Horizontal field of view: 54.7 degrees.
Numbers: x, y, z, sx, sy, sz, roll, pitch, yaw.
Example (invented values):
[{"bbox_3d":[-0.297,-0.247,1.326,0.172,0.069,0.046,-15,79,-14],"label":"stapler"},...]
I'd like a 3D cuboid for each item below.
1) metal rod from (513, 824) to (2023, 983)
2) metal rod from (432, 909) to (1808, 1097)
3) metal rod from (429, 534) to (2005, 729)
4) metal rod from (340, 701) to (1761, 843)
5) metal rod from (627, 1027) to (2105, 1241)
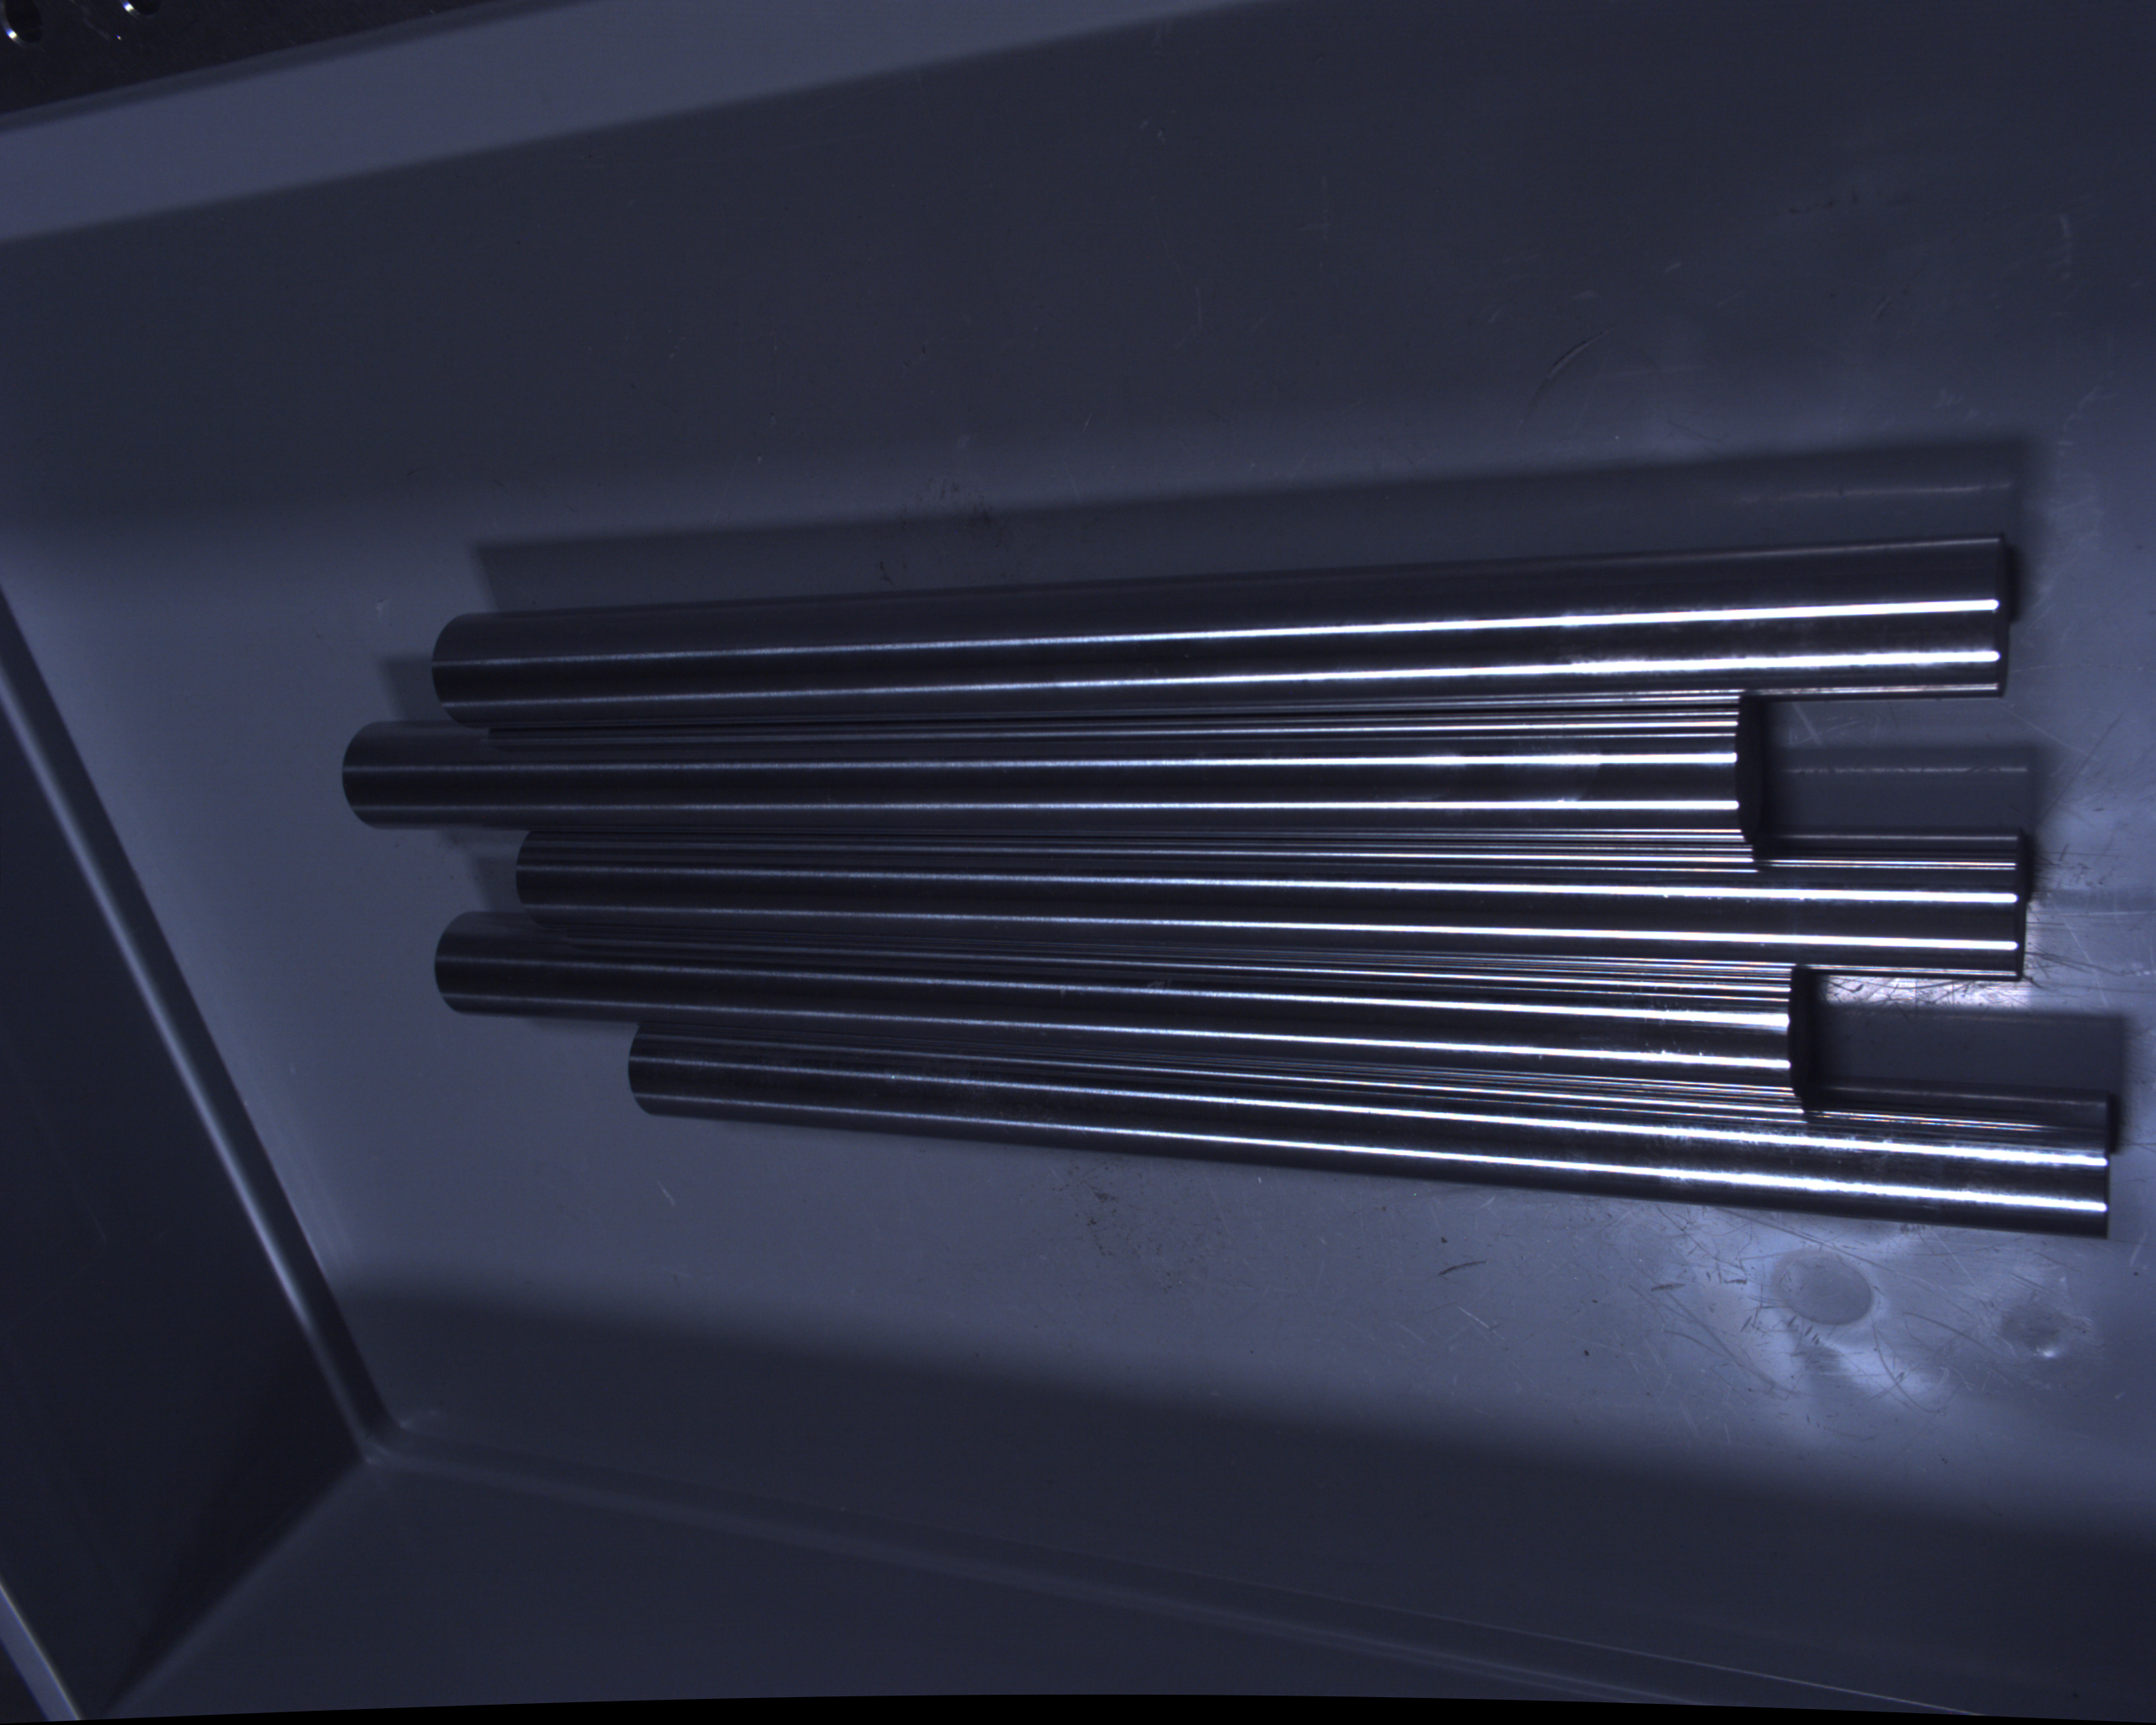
[{"bbox_3d":[0.016,0.004,0.400,0.301,0.025,0.025,1,119,27],"label":"metal rod"},{"bbox_3d":[-0.010,0.026,0.427,0.301,0.025,0.025,1,119,27],"label":"metal rod"},{"bbox_3d":[0.004,-0.039,0.380,0.301,0.025,0.025,1,119,27],"label":"metal rod"},{"bbox_3d":[-0.025,-0.018,0.407,0.301,0.025,0.025,1,119,27],"label":"metal rod"},{"bbox_3d":[0.037,0.048,0.416,0.301,0.025,0.025,1,119,27],"label":"metal rod"}]
